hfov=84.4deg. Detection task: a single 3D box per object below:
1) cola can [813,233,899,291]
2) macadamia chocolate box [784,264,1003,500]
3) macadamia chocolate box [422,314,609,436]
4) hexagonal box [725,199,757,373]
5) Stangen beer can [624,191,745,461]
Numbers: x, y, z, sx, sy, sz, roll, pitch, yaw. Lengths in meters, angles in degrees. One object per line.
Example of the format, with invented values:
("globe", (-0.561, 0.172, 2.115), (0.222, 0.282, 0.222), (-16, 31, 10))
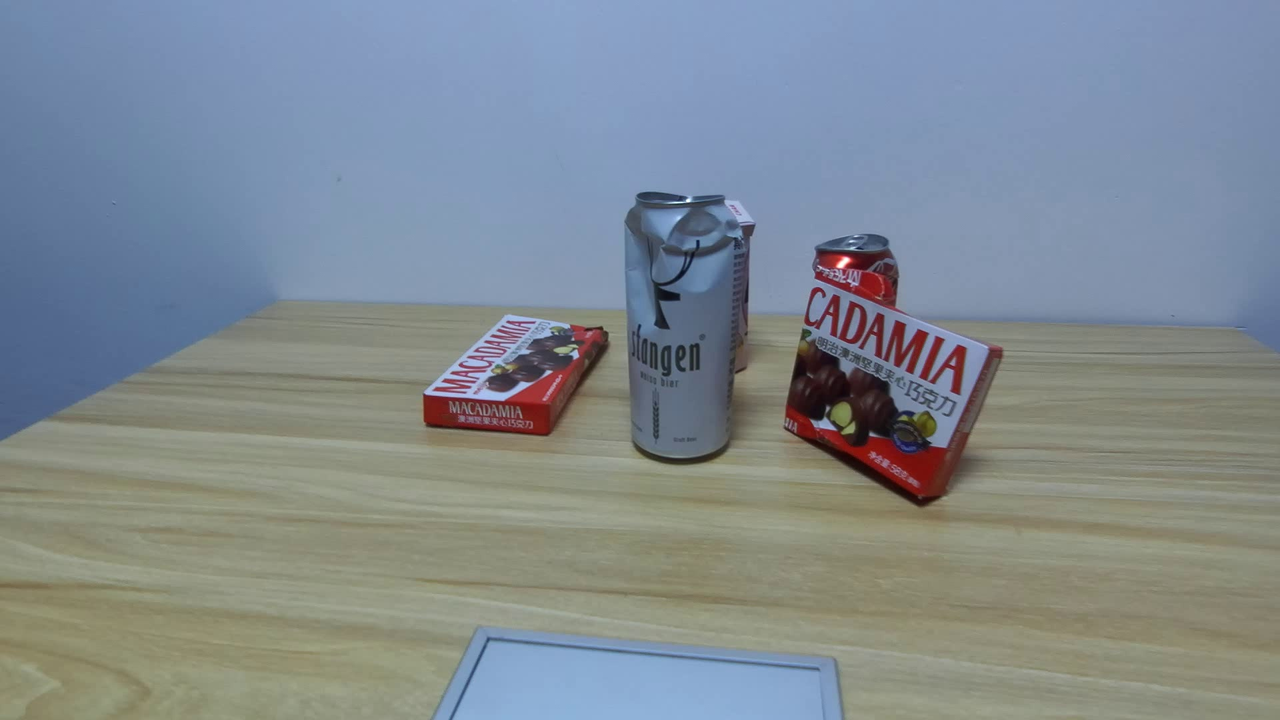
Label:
("cola can", (0.166, -0.041, 0.557), (0.069, 0.112, 0.065), (-5, 25, -10))
("macadamia chocolate box", (0.152, 0.010, 0.440), (0.056, 0.112, 0.126), (-12, 25, -28))
("macadamia chocolate box", (-0.090, 0.004, 0.577), (0.102, 0.027, 0.187), (5, 24, 8))
("hexagonal box", (0.041, -0.059, 0.568), (0.085, 0.135, 0.092), (-6, 26, -11))
("Stangen beer can", (0.027, -0.020, 0.448), (0.066, 0.166, 0.065), (-9, 23, -20))
